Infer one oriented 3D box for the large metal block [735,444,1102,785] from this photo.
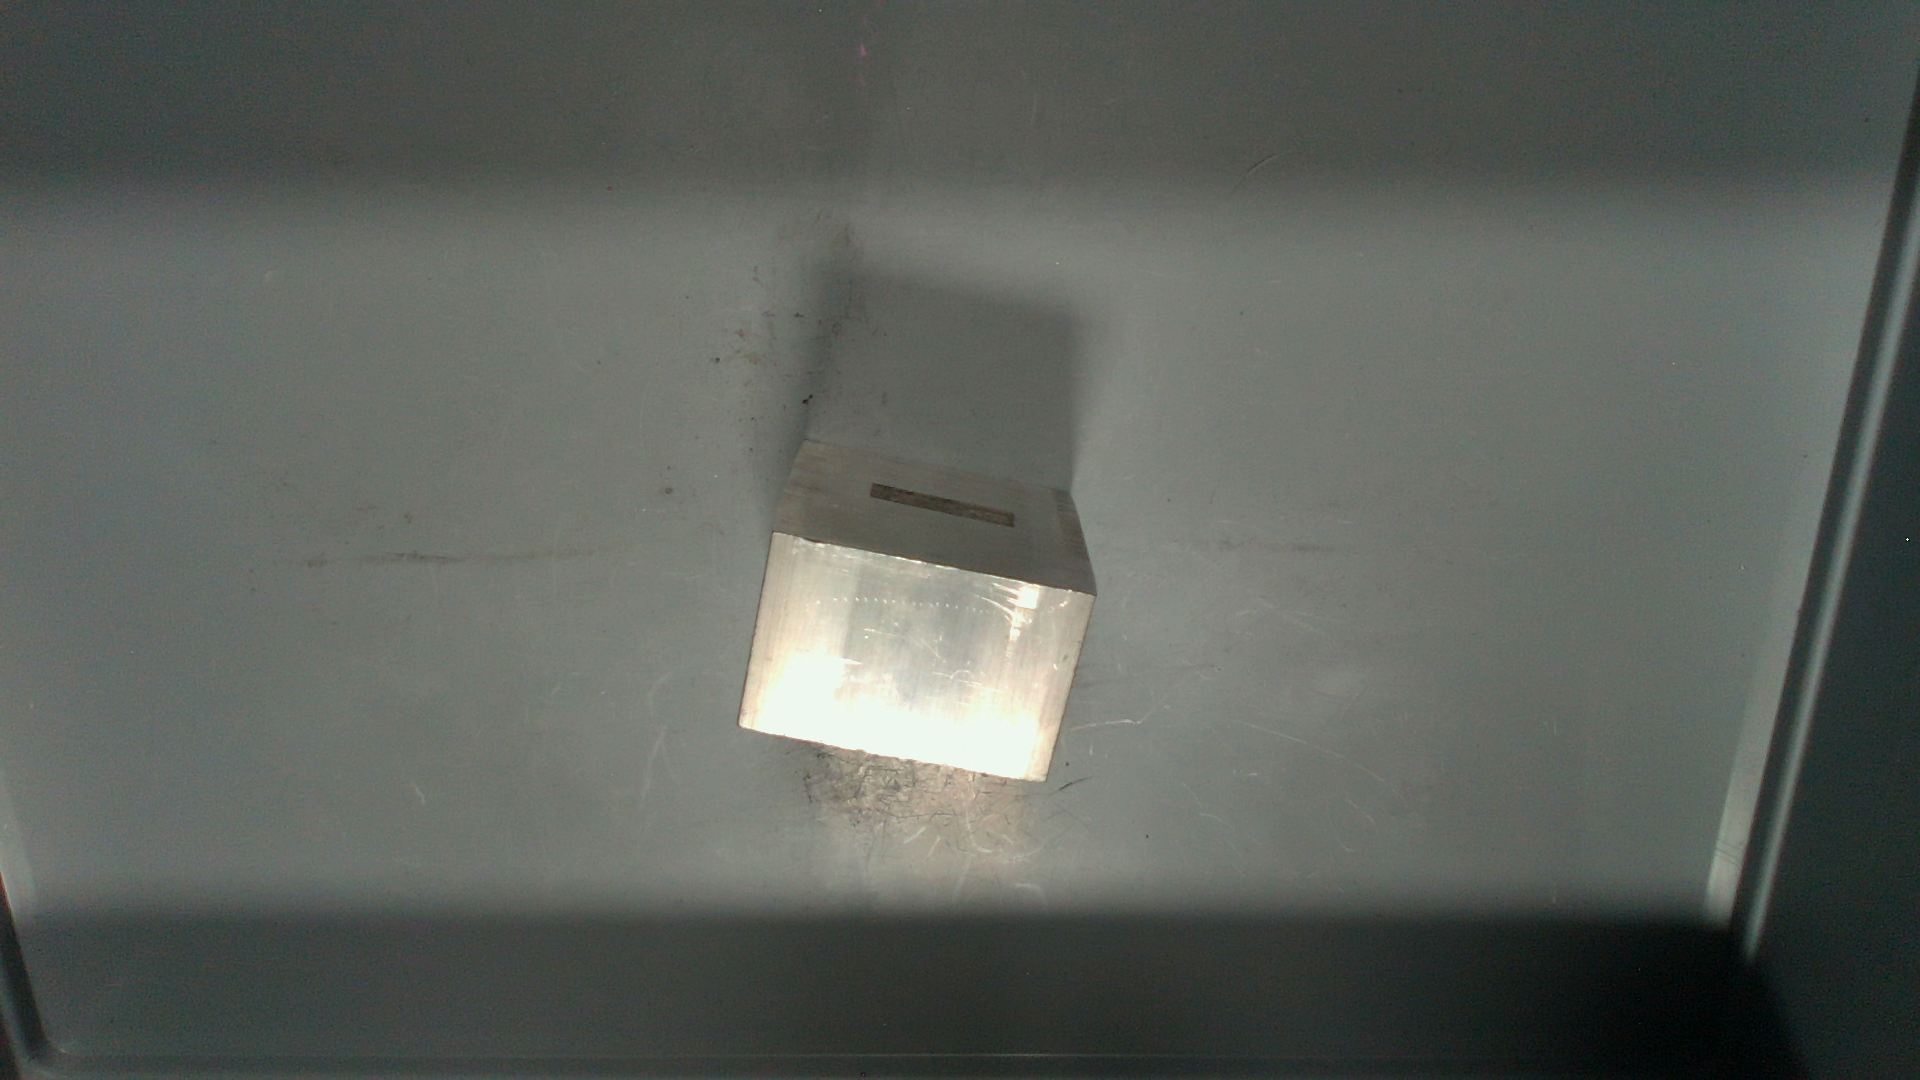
[{"bbox_3d":[-0.011,0.016,0.369,0.080,0.080,0.050,11,110,-4],"label":"large metal block"}]
